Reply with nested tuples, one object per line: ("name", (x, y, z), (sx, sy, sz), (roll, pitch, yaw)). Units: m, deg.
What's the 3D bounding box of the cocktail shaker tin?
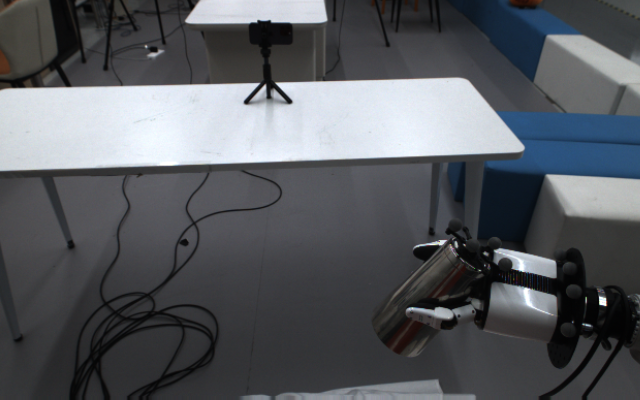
("cocktail shaker tin", (0.156, 0.126, 0.679), (0.093, 0.170, 0.093), (26, 32, -17))
